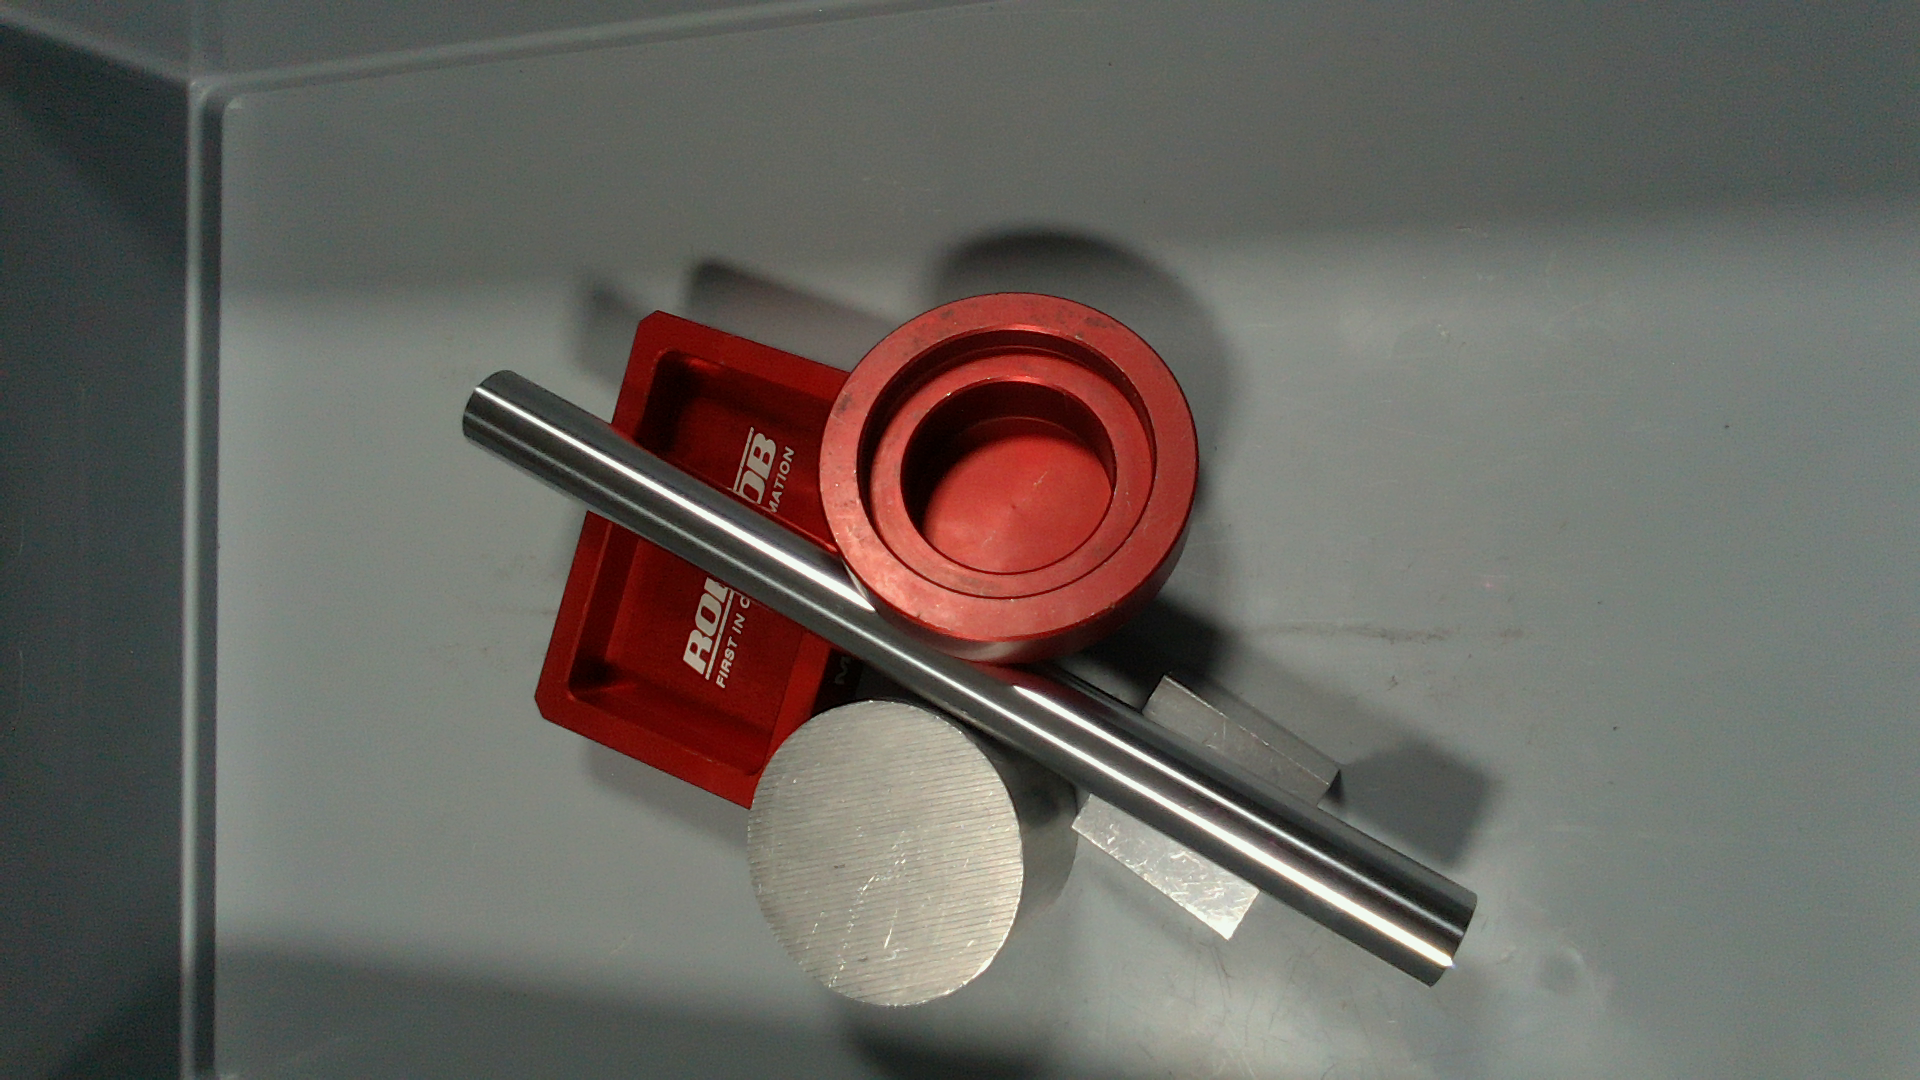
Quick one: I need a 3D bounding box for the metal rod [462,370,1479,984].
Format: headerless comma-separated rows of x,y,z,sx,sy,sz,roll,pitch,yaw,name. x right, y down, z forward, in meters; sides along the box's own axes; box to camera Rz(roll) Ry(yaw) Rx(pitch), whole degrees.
-0.010,0.028,0.368,0.299,0.025,0.025,27,99,15,metal rod

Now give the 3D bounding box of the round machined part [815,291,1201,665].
0.014,-0.013,0.367,0.098,0.042,0.098,-2,68,5,round machined part

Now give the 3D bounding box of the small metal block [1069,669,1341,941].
0.066,0.070,0.371,0.050,0.025,0.050,33,101,17,small metal block

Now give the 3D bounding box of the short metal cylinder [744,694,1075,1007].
-0.013,0.083,0.385,0.080,0.050,0.080,0,90,20,short metal cylinder

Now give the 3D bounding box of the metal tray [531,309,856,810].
-0.070,0.006,0.416,0.090,0.030,0.130,19,97,19,metal tray
